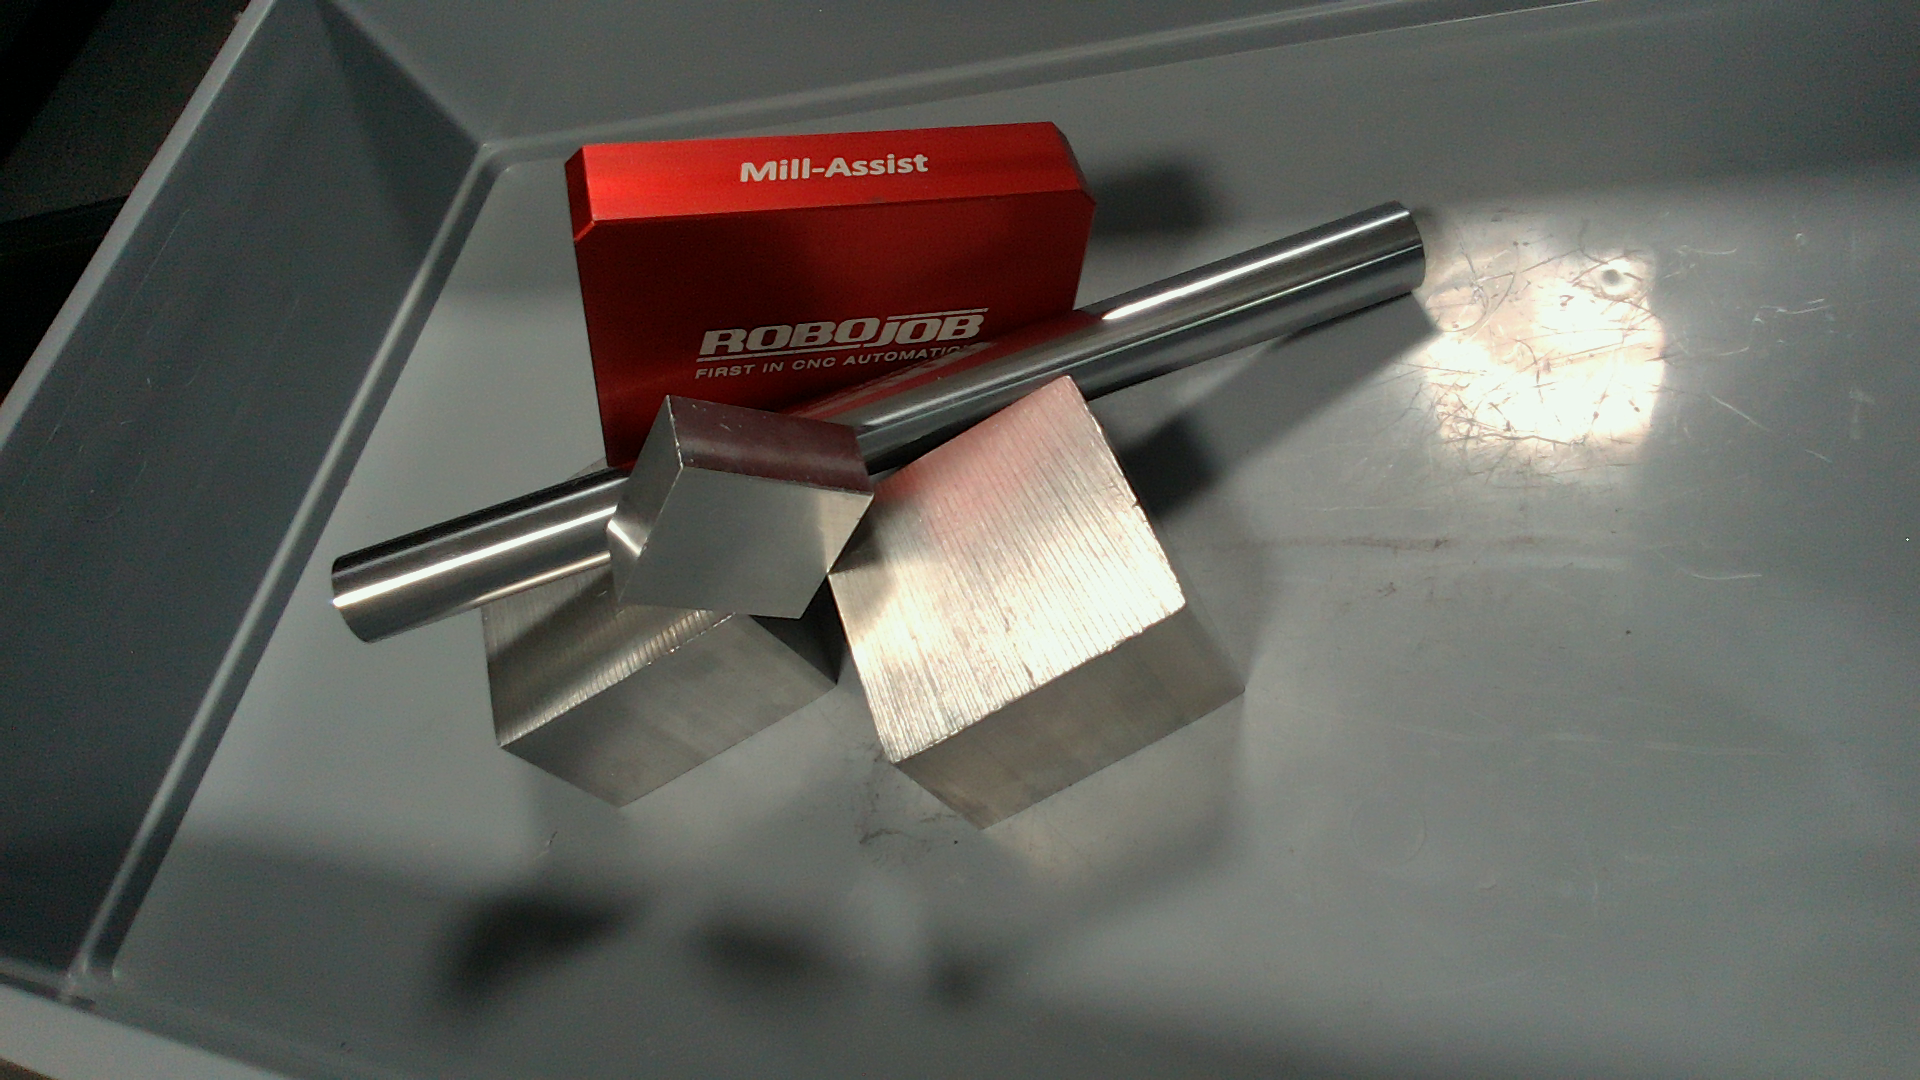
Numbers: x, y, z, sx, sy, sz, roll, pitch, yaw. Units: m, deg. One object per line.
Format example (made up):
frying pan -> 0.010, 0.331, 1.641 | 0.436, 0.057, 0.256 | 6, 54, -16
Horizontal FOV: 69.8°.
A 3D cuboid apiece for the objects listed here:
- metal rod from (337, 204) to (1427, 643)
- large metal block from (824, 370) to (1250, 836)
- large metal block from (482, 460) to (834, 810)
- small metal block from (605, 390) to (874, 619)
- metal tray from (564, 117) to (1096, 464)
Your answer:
metal rod -> -0.020, -0.032, 0.375 | 0.300, 0.025, 0.025 | -19, 53, -1
large metal block -> 0.016, 0.017, 0.358 | 0.080, 0.050, 0.080 | -30, 52, 9
large metal block -> -0.093, 0.020, 0.412 | 0.080, 0.050, 0.080 | -30, 52, 9
small metal block -> -0.057, -0.007, 0.349 | 0.050, 0.050, 0.025 | -56, 39, 38
metal tray -> -0.036, -0.066, 0.376 | 0.130, 0.090, 0.030 | -7, 53, -14
